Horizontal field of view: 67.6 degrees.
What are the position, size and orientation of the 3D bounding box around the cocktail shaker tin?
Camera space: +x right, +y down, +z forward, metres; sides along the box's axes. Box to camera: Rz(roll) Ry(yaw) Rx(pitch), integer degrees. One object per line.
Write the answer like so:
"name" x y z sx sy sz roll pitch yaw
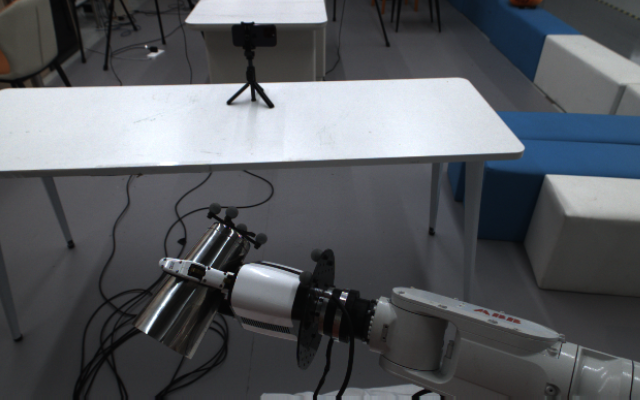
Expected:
"cocktail shaker tin" -0.167 0.116 0.664 0.093 0.093 0.170 20 66 24
